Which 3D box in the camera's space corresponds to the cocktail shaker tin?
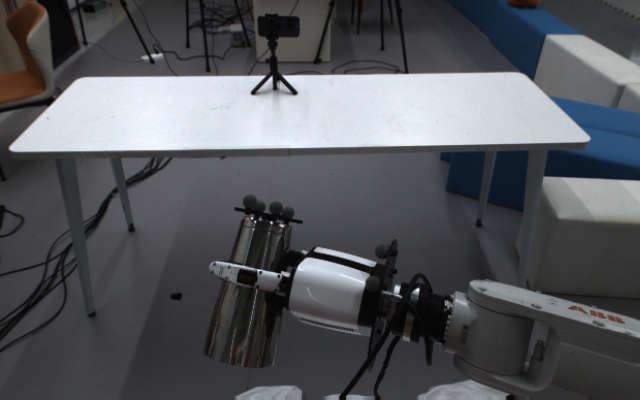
[{"bbox_3d":[-0.082,0.112,0.609,0.093,0.170,0.093,11,-5,1],"label":"cocktail shaker tin"}]
